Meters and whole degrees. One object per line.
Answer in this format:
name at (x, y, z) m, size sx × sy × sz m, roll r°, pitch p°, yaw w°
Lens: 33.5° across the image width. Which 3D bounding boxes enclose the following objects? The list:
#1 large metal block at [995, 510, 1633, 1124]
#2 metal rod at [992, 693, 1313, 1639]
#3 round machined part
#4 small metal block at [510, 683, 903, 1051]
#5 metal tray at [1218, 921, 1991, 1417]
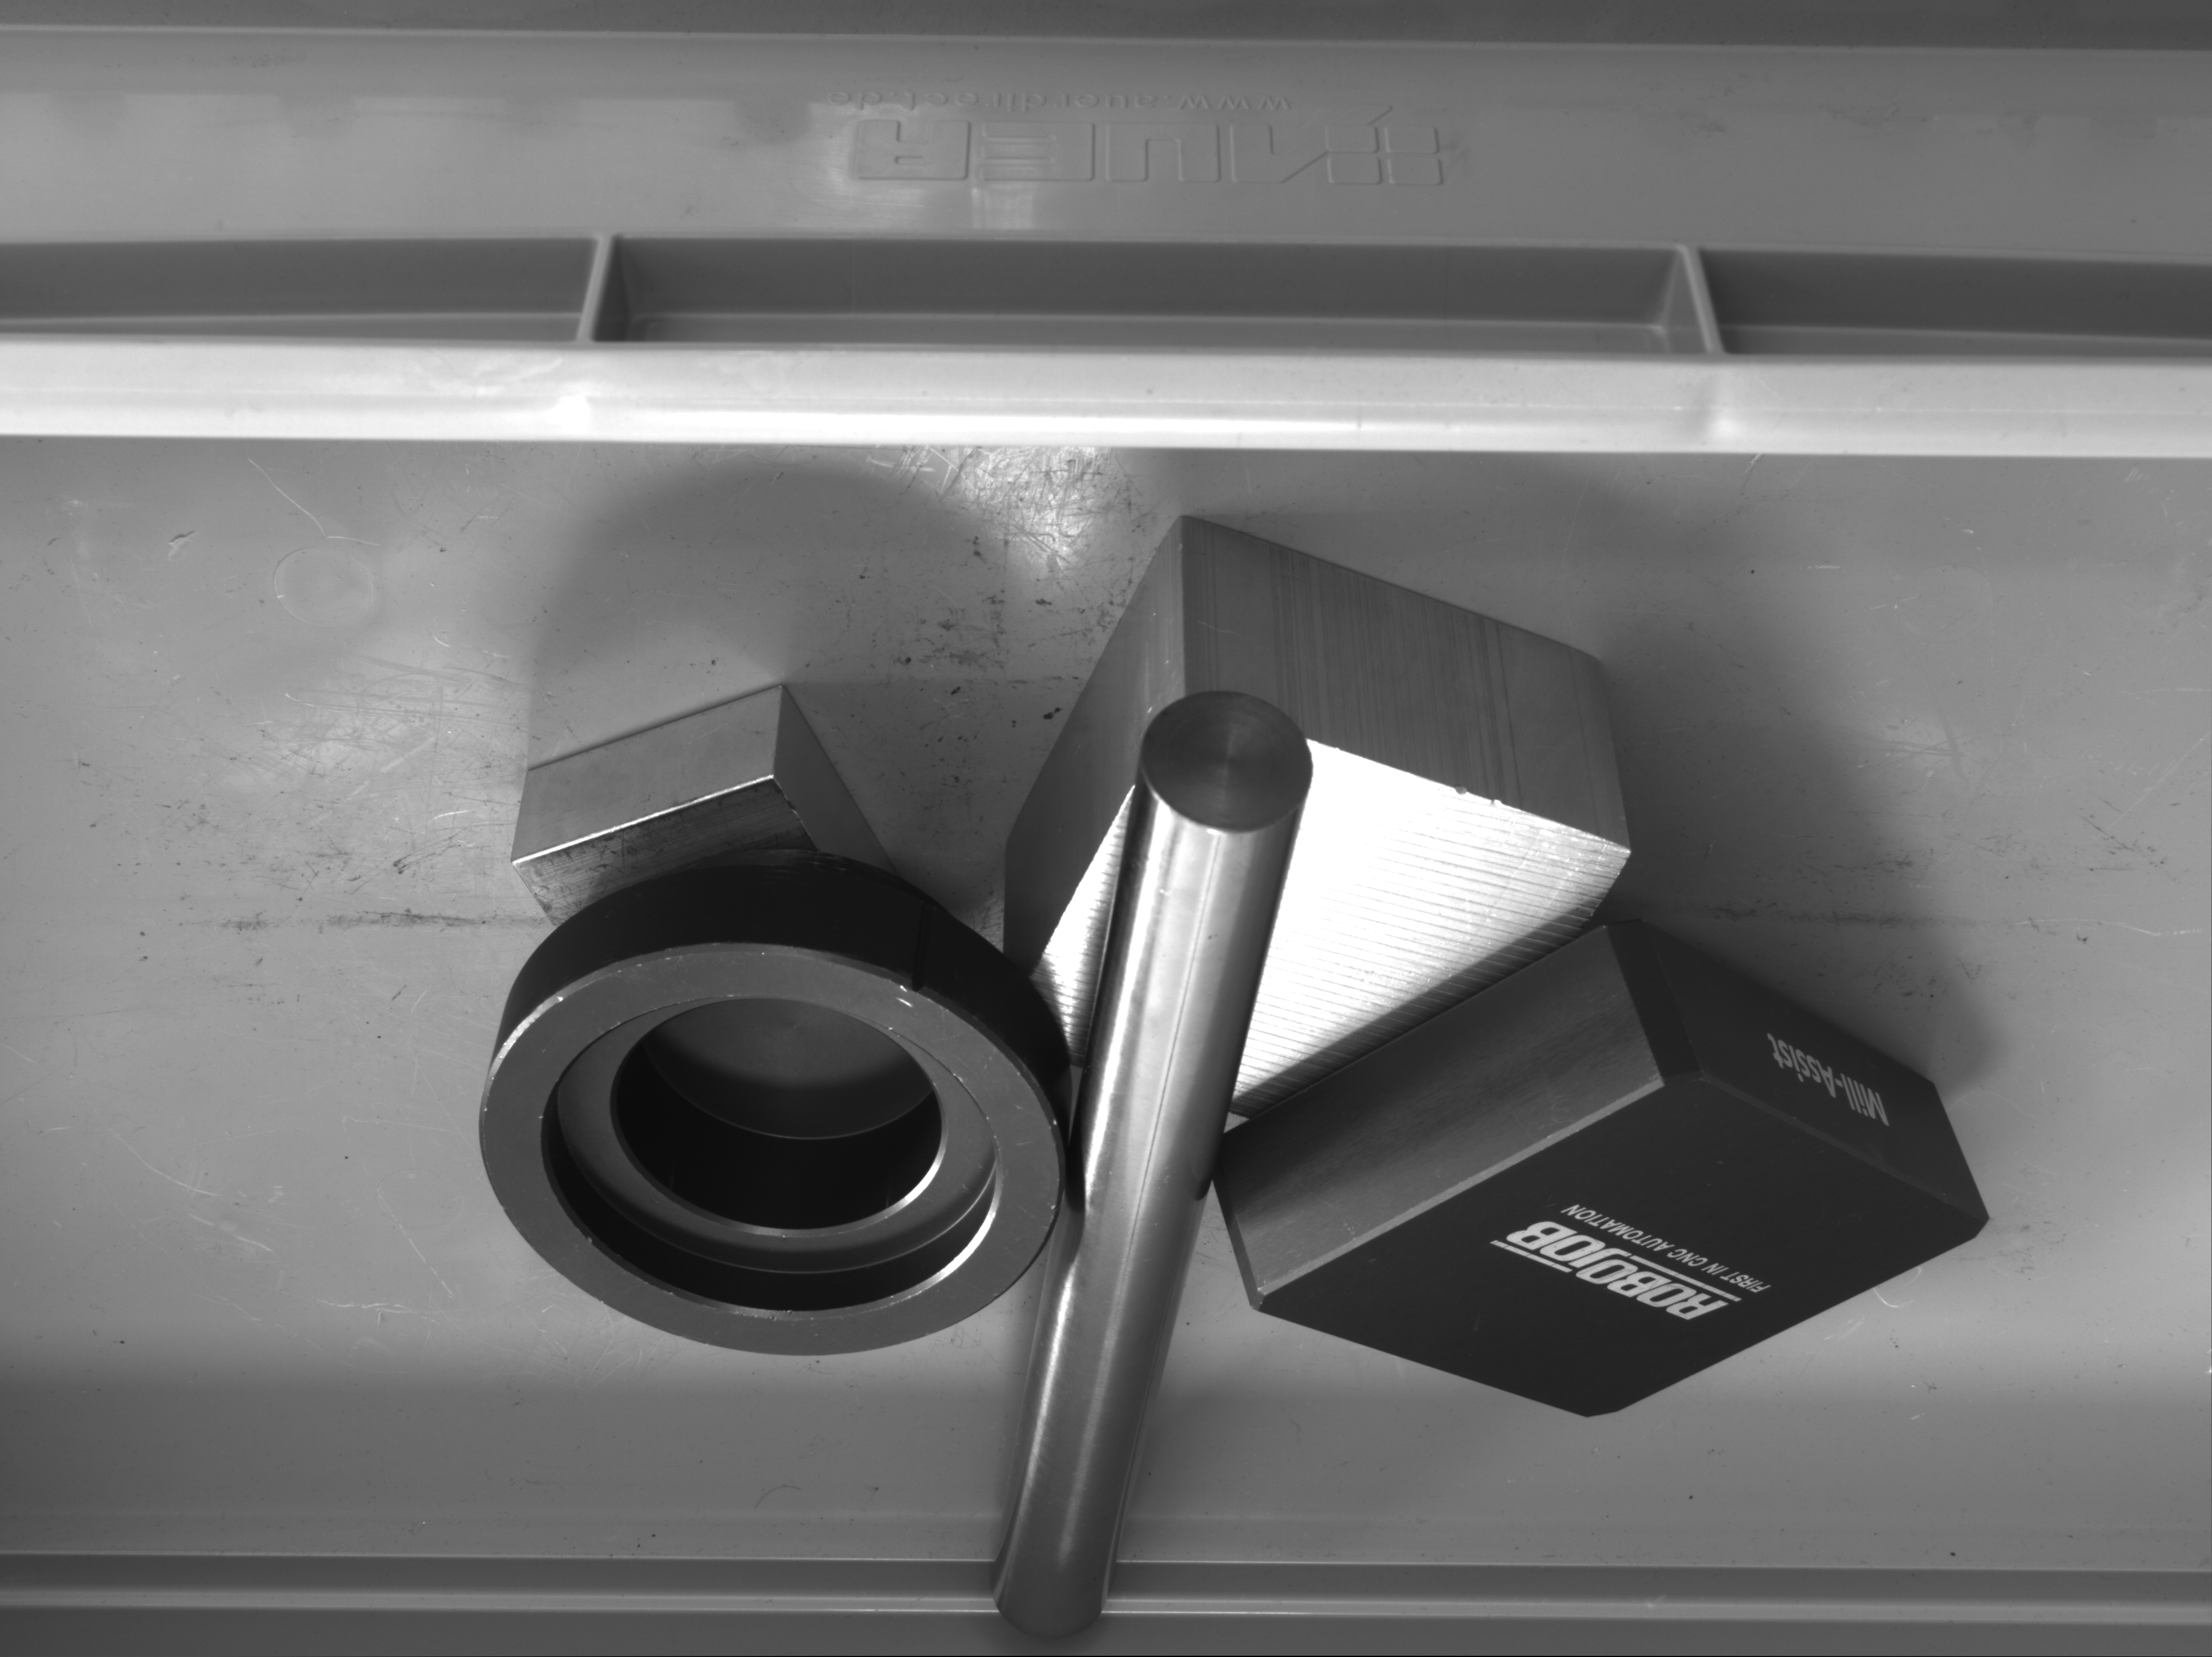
large metal block at (0.033, 0.003, 0.625) m, size 0.080 × 0.050 × 0.080 m, roll 18°, pitch 128°, yaw -14°
metal rod at (0.003, 0.075, 0.649) m, size 0.025 × 0.025 × 0.300 m, roll 5°, pitch 146°, yaw -4°
round machined part at (-0.055, 0.043, 0.627) m, size 0.098 × 0.042 × 0.098 m, roll 2°, pitch 131°, yaw 2°
small metal block at (-0.069, 0.008, 0.646) m, size 0.050 × 0.025 × 0.050 m, roll -17°, pitch 128°, yaw 14°
metal tray at (0.090, 0.065, 0.656) m, size 0.090 × 0.030 × 0.130 m, roll -31°, pitch 148°, yaw 24°
